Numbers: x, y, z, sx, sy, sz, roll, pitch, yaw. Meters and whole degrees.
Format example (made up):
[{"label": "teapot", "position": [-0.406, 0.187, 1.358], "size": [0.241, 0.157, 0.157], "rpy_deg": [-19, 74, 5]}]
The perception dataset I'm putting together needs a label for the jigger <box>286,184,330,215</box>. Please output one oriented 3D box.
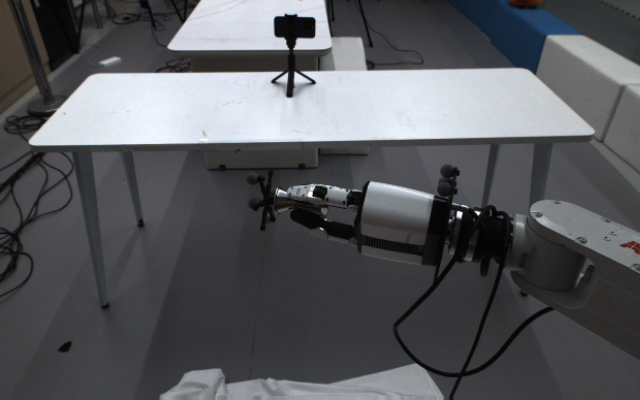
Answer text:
[{"label": "jigger", "position": [-0.018, -0.001, 0.672], "size": [0.071, 0.043, 0.043], "rpy_deg": [3, 34, 14]}]
